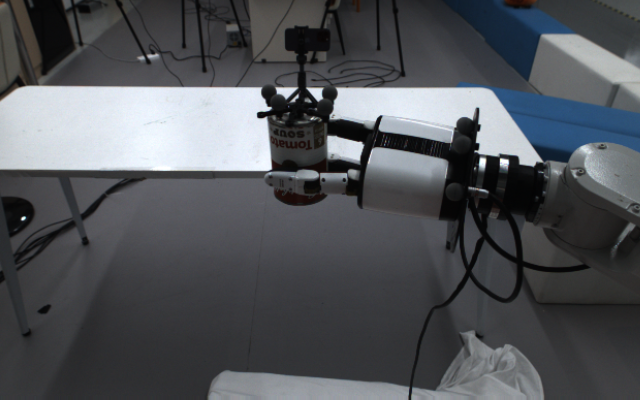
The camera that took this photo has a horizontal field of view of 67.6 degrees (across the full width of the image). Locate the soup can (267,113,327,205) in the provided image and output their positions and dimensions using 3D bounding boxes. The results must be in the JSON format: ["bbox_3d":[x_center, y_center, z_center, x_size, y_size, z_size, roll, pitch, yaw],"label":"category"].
[{"bbox_3d":[-0.022,-0.055,0.561,0.067,0.101,0.067,-2,34,1],"label":"soup can"}]
